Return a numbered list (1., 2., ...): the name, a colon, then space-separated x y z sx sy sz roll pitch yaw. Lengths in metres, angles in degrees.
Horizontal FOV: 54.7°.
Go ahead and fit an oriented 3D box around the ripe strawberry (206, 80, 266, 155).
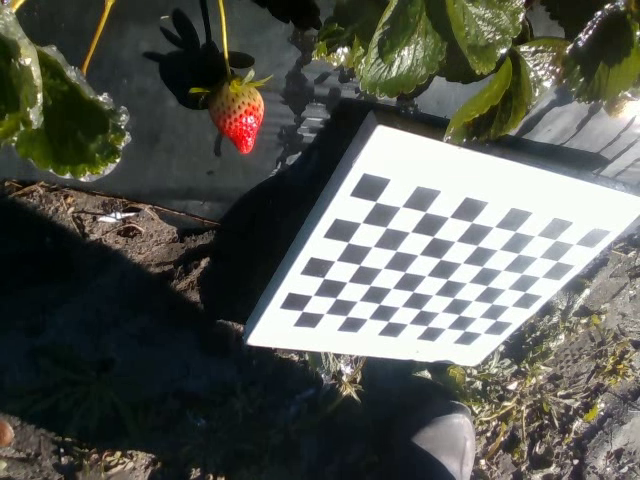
1. ripe strawberry: -0.050 -0.076 0.384 0.039 0.053 0.041 -6 32 -9
